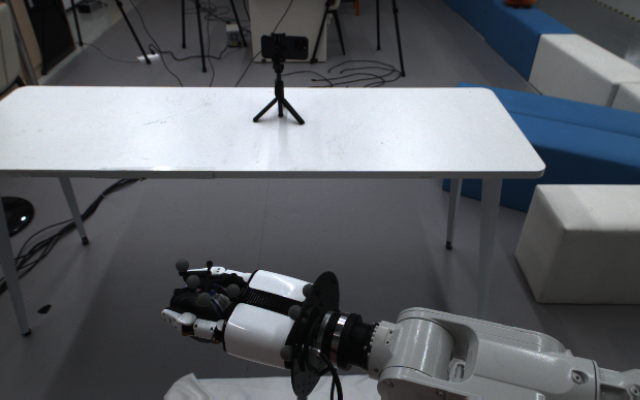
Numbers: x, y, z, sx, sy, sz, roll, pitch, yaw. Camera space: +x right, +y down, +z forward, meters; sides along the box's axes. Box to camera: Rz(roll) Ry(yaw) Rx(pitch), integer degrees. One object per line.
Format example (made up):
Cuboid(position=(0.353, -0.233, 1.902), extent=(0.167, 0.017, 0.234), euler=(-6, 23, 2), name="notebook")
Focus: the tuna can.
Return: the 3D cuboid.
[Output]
Cuboid(position=(-0.157, 0.150, 0.661), extent=(0.085, 0.085, 0.034), euler=(16, 29, 19), name="tuna can")
